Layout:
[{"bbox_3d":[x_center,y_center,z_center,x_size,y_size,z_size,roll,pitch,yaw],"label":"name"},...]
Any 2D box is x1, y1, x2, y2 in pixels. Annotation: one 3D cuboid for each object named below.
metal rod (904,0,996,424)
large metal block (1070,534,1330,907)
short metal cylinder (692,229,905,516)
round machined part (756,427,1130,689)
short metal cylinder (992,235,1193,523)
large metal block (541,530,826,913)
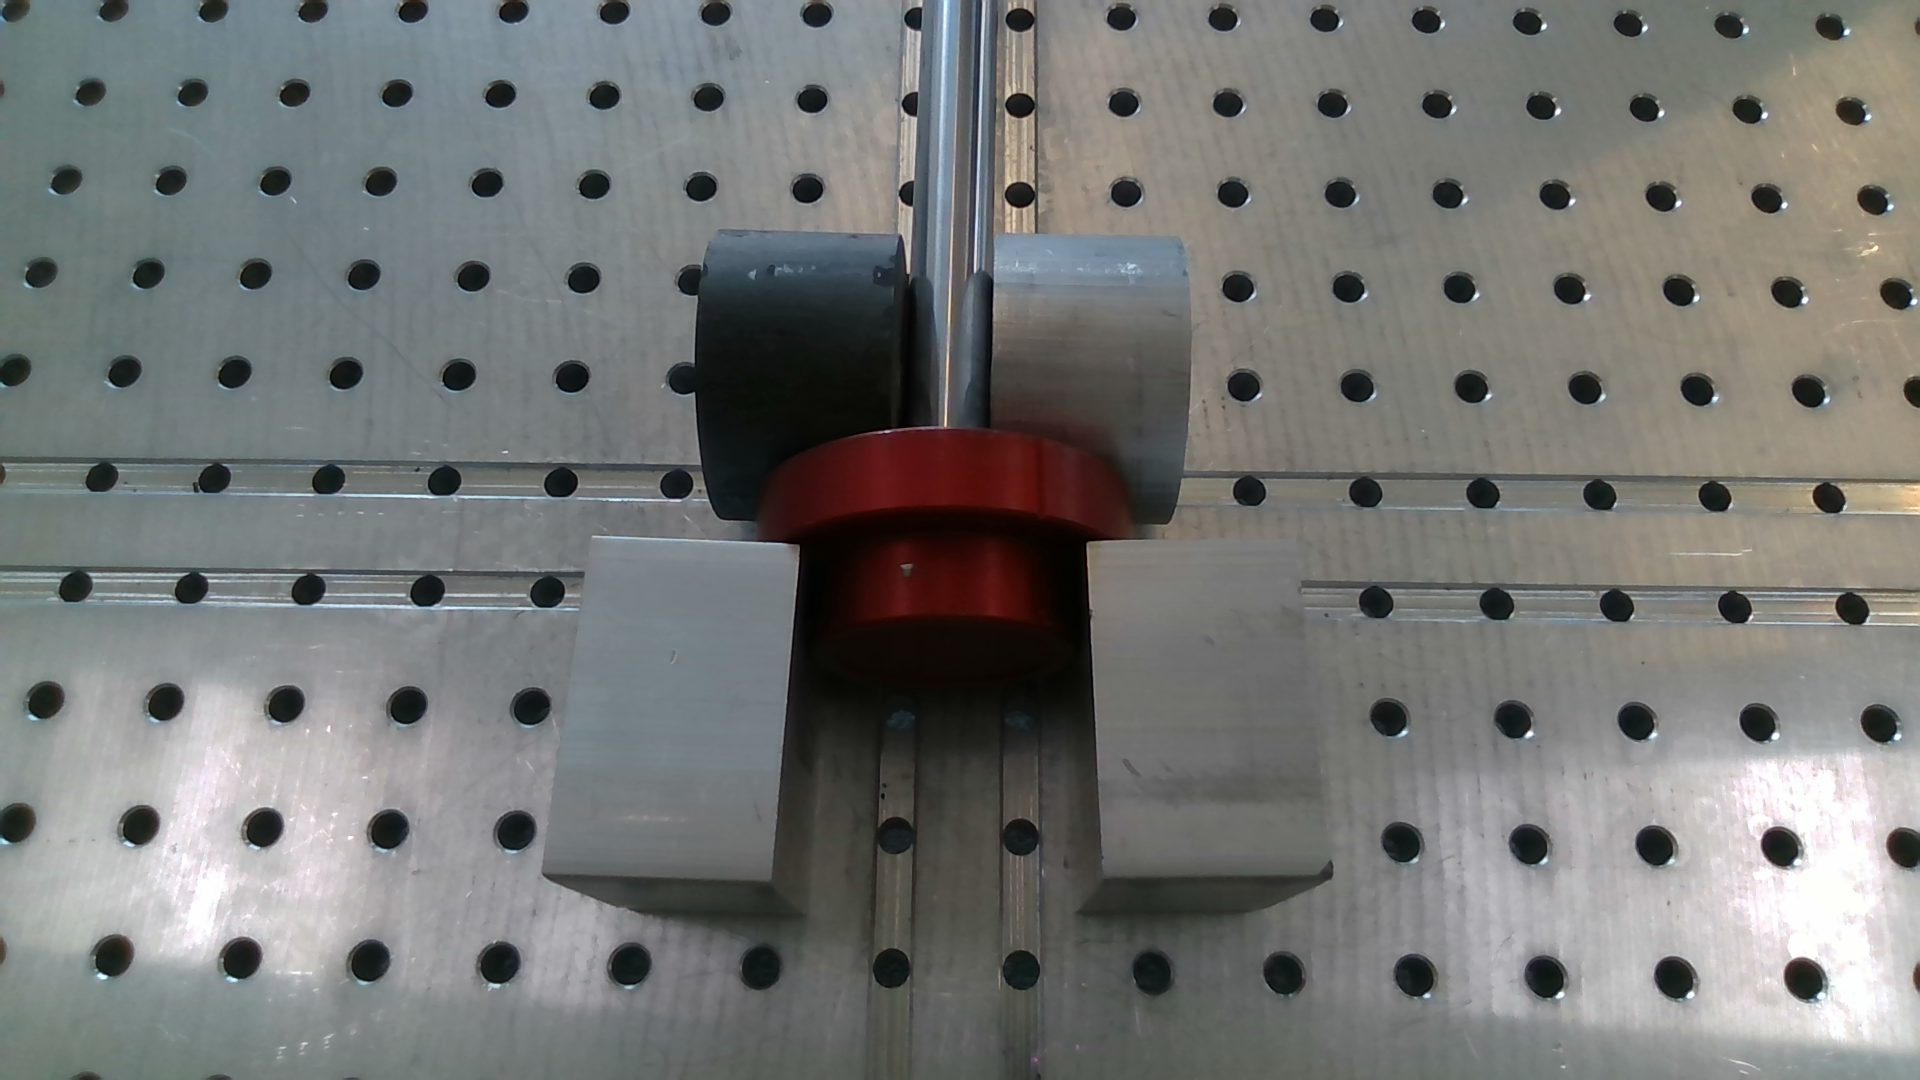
[{"bbox_3d":[-0.002,-0.117,0.427,0.025,0.025,0.299,2,66,1],"label":"metal rod"},{"bbox_3d":[0.056,0.050,0.352,0.050,0.080,0.080,0,70,0],"label":"large metal block"},{"bbox_3d":[-0.042,-0.046,0.384,0.050,0.080,0.080,1,70,1],"label":"short metal cylinder"},{"bbox_3d":[-0.004,0.010,0.355,0.098,0.098,0.042,1,70,0],"label":"round machined part"},{"bbox_3d":[0.034,-0.045,0.385,0.050,0.080,0.080,0,70,1],"label":"short metal cylinder"},{"bbox_3d":[-0.065,0.050,0.352,0.050,0.080,0.080,2,70,1],"label":"large metal block"}]
